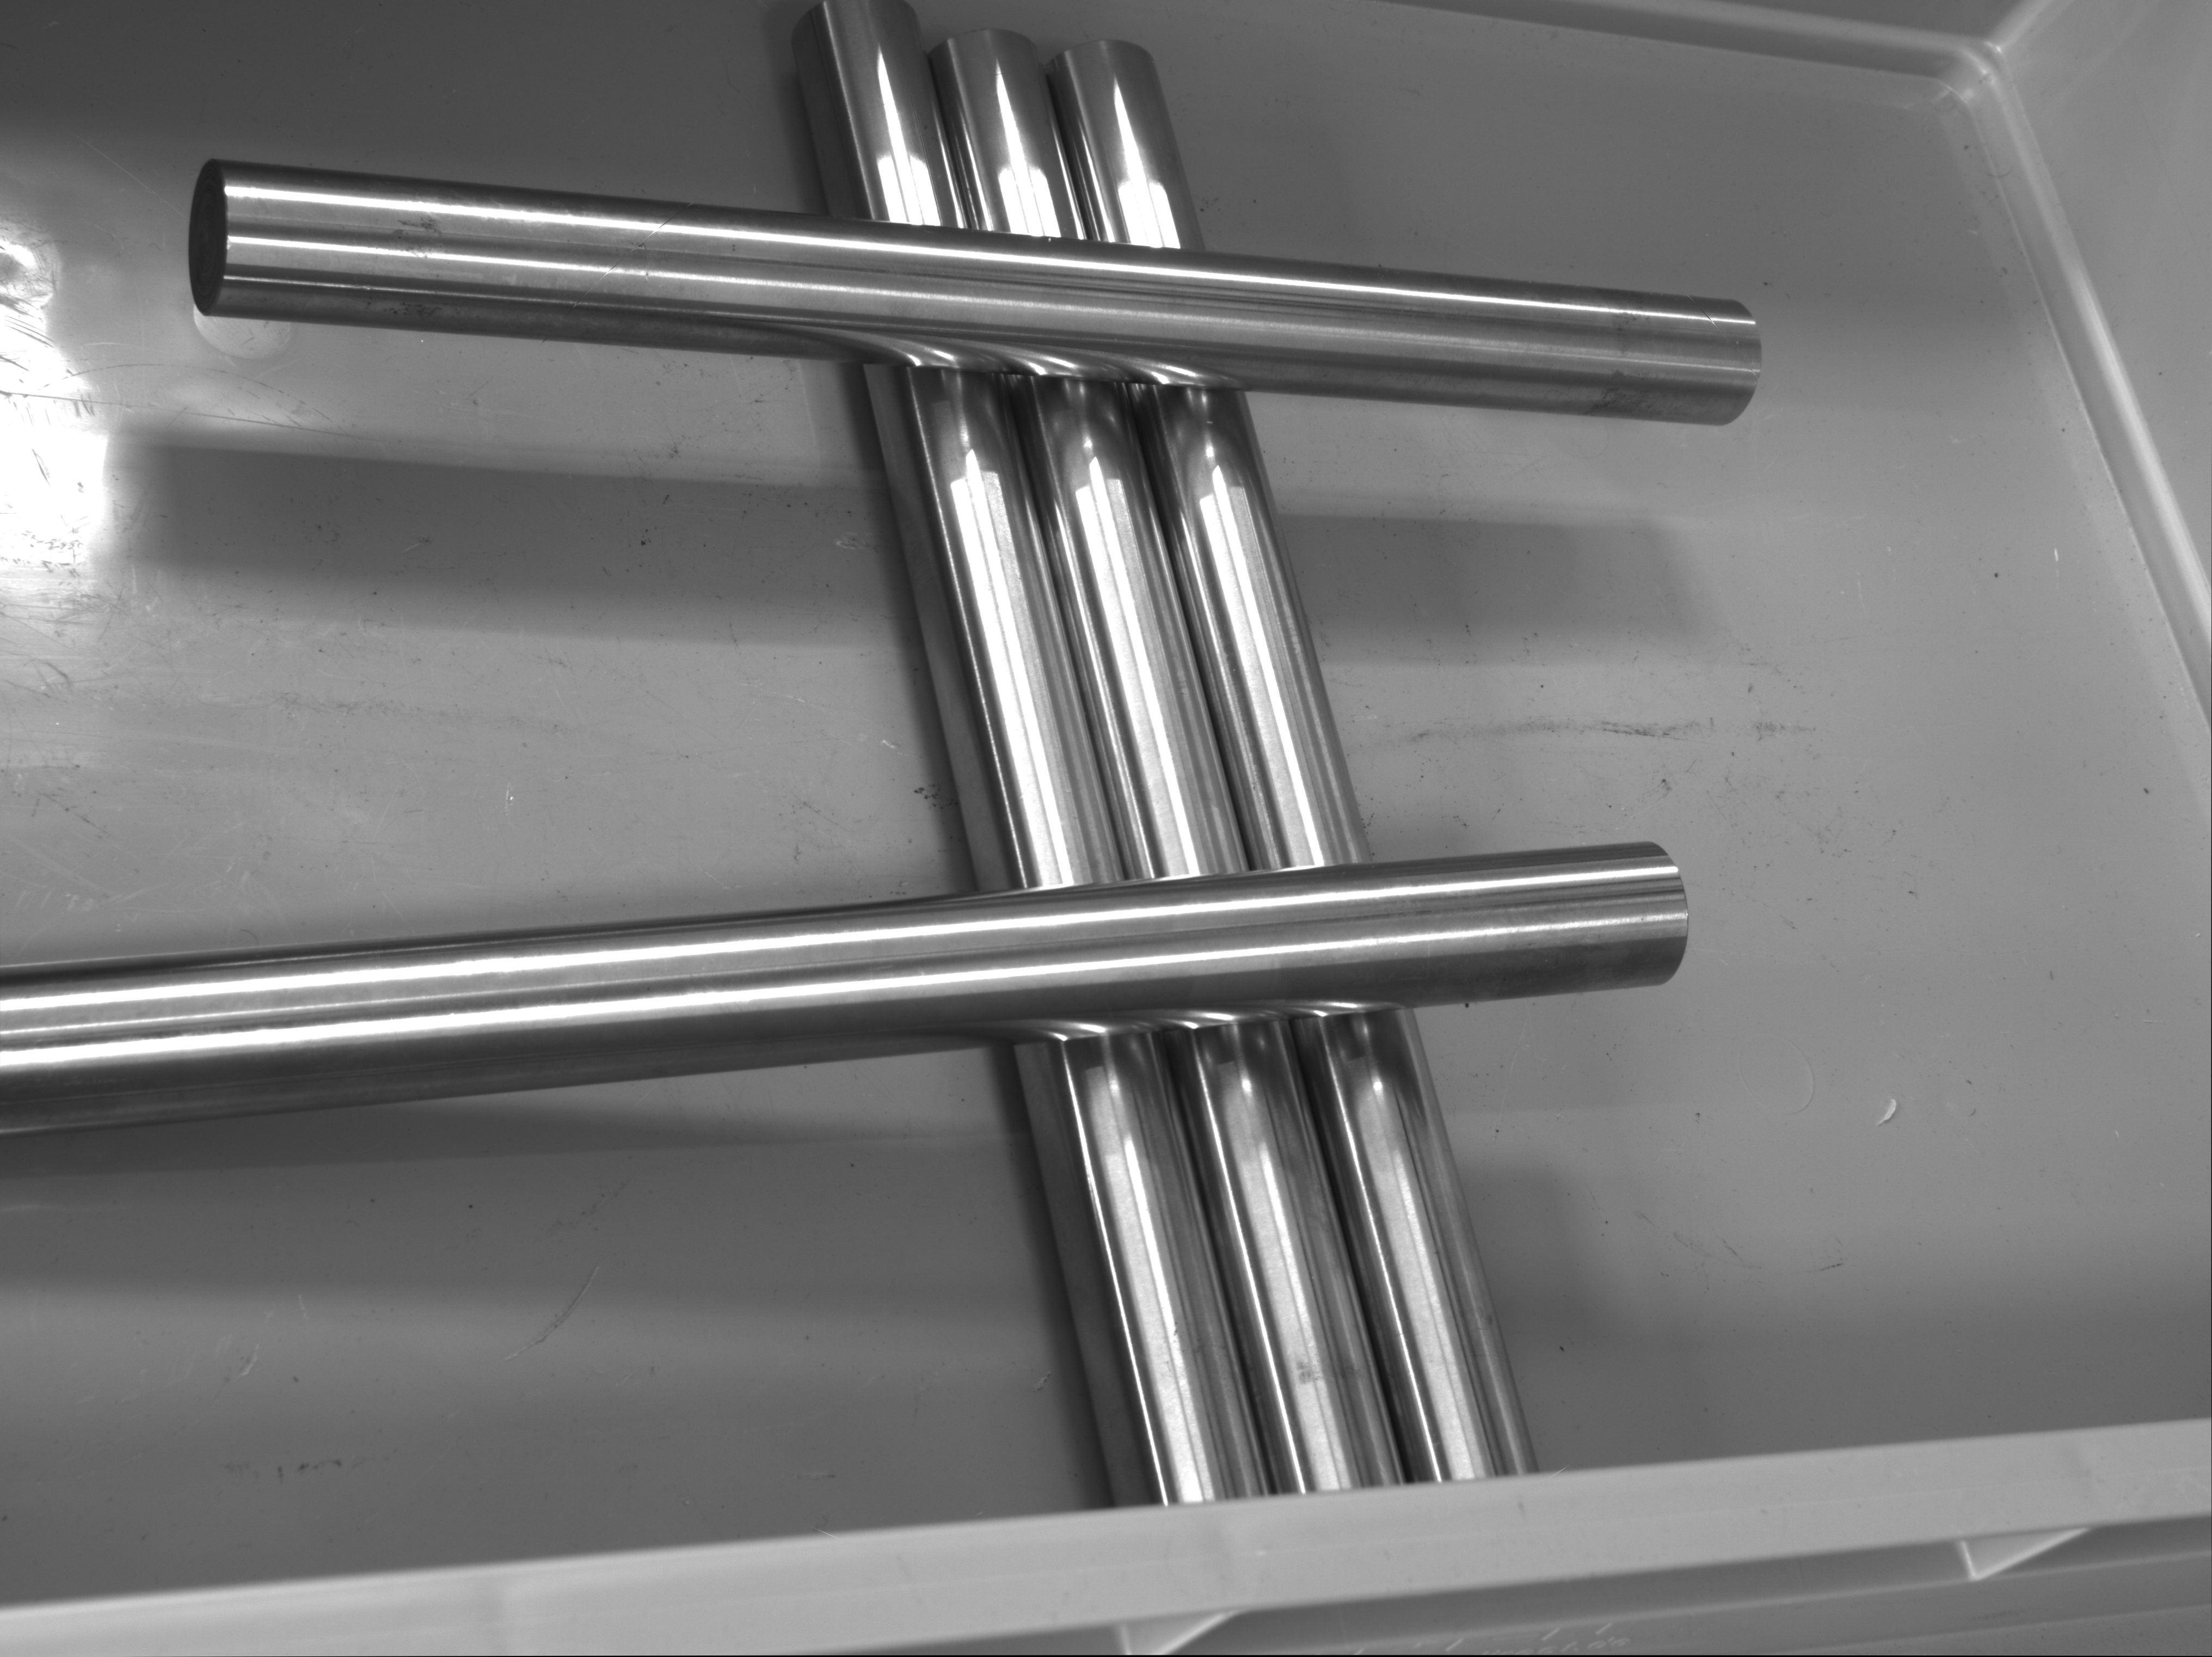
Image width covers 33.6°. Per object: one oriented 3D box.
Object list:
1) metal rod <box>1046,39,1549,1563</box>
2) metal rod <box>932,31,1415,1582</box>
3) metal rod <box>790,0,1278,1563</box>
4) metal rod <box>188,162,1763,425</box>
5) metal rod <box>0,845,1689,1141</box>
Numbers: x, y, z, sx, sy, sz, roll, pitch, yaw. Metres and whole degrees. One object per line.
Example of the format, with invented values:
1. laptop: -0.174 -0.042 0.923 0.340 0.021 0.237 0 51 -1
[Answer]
1. metal rod: 0.029 -0.016 0.662 0.025 0.025 0.300 1 61 -28
2. metal rod: 0.006 -0.015 0.651 0.025 0.025 0.300 1 61 -28
3. metal rod: -0.017 -0.020 0.642 0.025 0.025 0.300 1 61 -28
4. metal rod: -0.011 -0.093 0.657 0.301 0.025 0.025 0 61 -28
5. metal rod: -0.045 0.025 0.575 0.301 0.025 0.025 -4 63 -22
